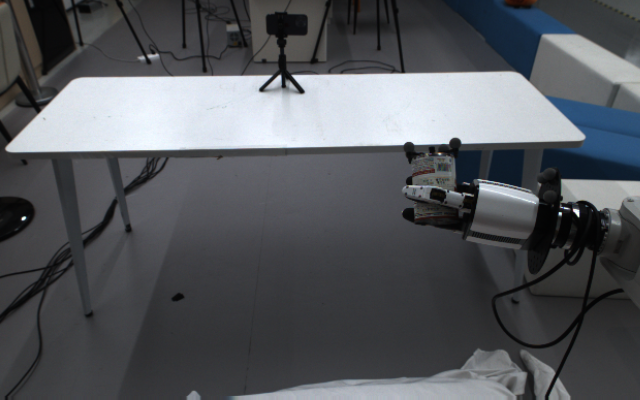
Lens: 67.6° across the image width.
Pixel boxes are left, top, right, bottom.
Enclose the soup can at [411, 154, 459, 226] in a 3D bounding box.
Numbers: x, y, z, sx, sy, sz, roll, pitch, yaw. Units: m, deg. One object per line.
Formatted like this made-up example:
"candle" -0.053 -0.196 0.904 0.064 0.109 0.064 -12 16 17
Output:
"soup can" 0.176 -0.016 0.741 0.067 0.101 0.067 -1 -9 0
